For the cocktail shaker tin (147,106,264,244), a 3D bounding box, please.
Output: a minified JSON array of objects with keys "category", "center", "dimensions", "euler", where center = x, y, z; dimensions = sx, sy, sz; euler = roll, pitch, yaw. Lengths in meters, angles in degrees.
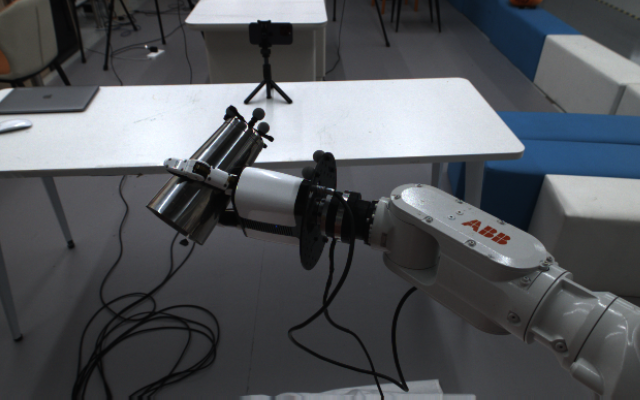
[{"category":"cocktail shaker tin","center":[-0.155,-0.035,0.683],"dimensions":[0.093,0.093,0.170],"euler":[24,69,28]}]
